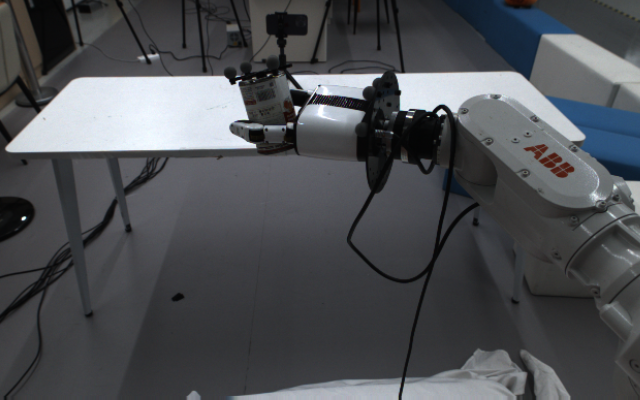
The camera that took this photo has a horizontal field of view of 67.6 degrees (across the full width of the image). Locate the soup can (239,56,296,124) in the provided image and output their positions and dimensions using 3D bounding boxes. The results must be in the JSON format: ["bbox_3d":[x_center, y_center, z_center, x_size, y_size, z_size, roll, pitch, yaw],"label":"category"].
[{"bbox_3d":[-0.067,-0.122,0.673,0.067,0.101,0.067,-13,20,5],"label":"soup can"}]
